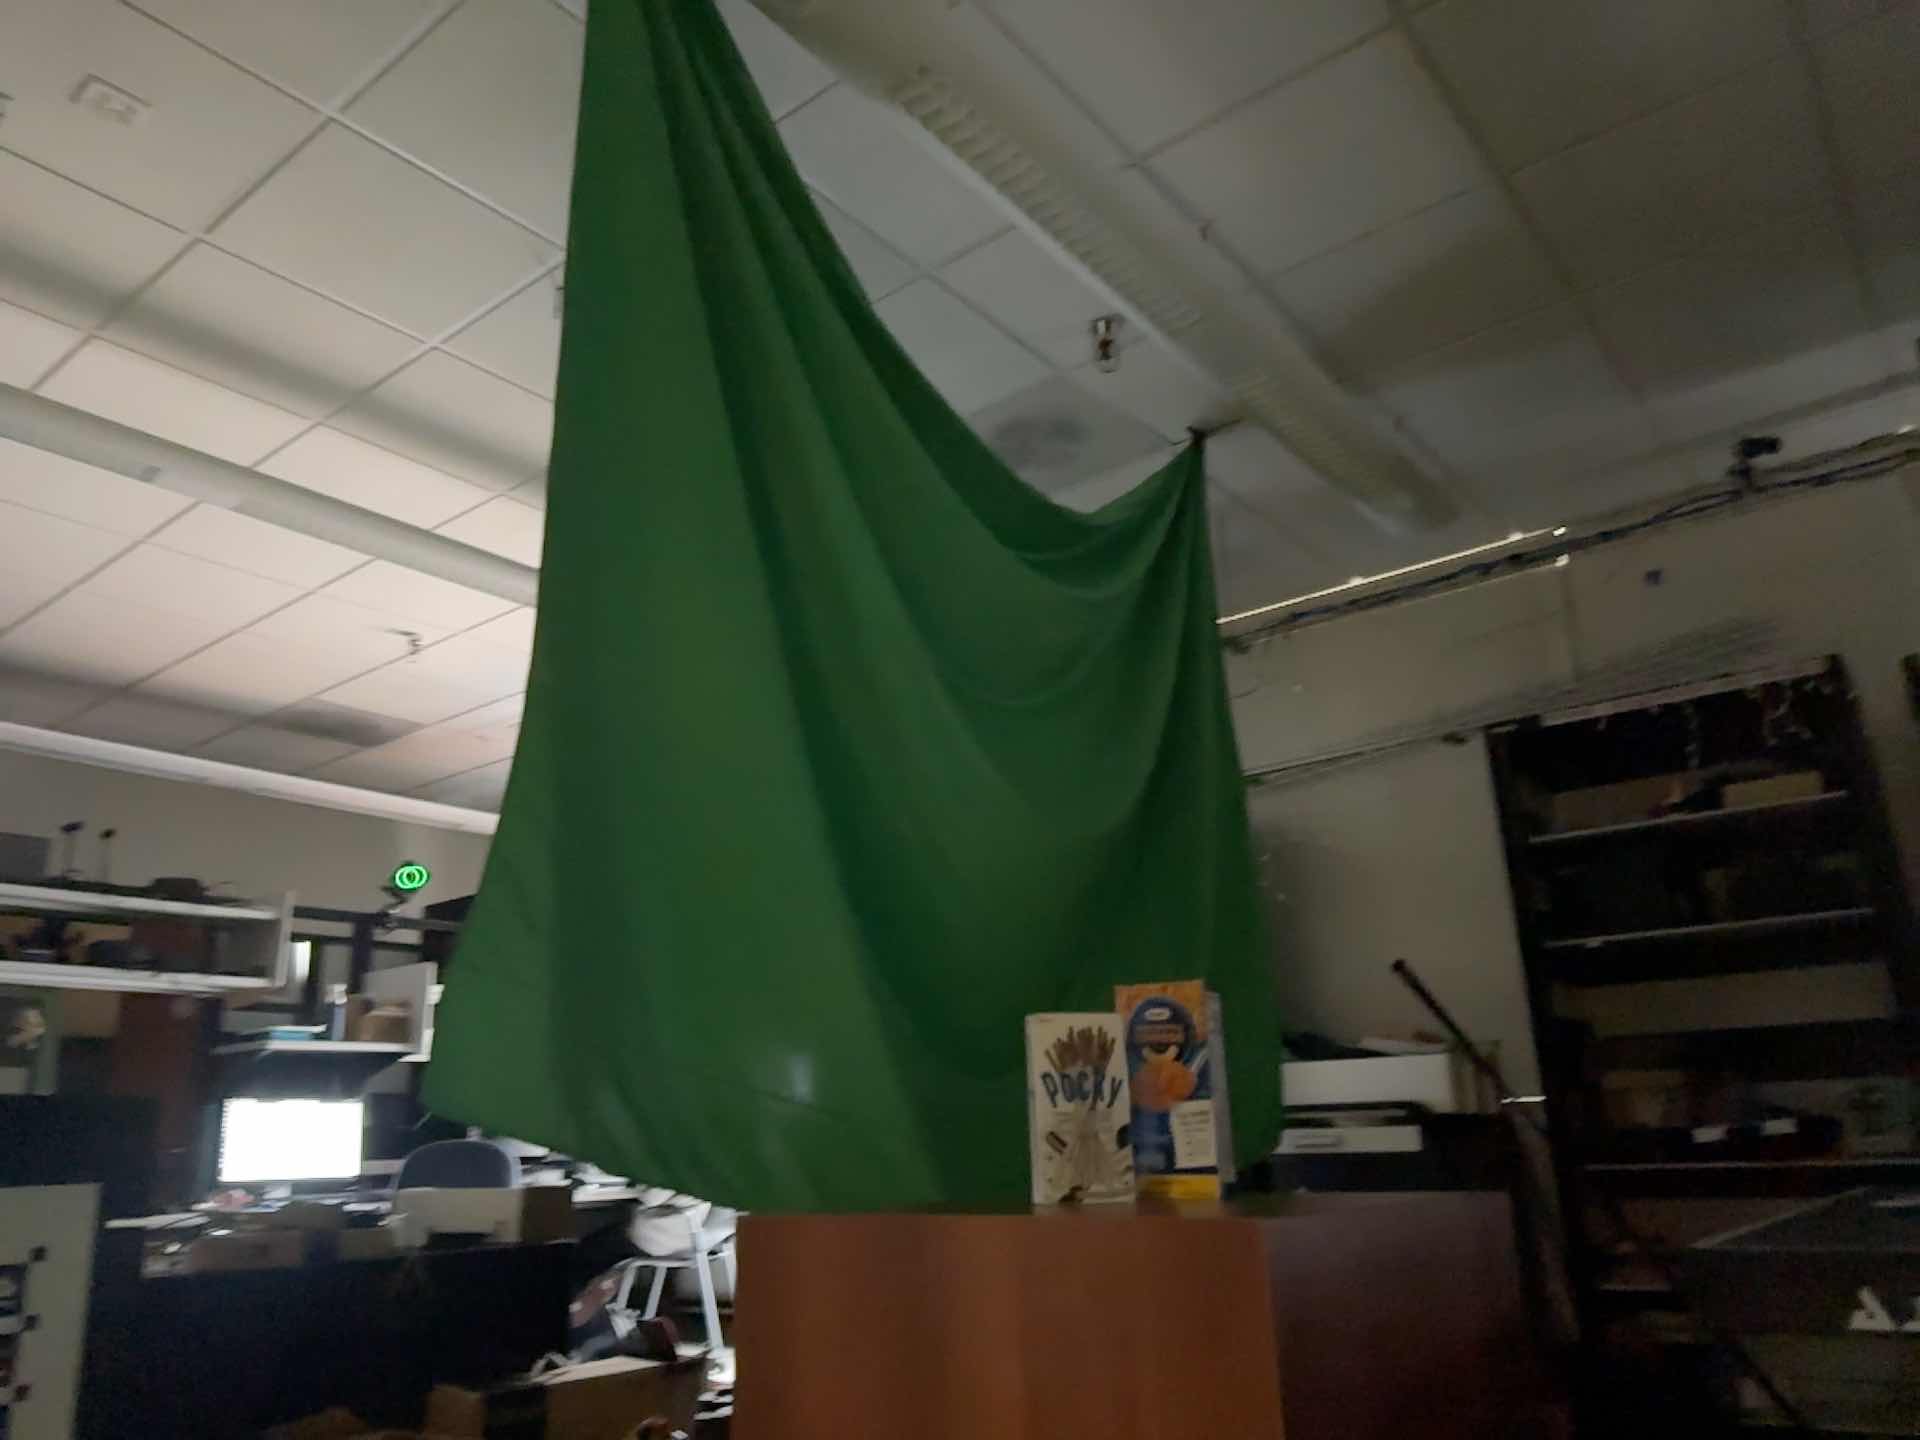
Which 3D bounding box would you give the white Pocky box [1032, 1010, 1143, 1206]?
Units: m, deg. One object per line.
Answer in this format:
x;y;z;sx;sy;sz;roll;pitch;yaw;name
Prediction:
0.105;0.320;1.113;0.084;0.154;0.028;2;-16;-11;white Pocky box

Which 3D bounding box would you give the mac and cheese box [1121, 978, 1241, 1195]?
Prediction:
0.195;0.327;1.202;0.088;0.181;0.035;-12;-20;31;mac and cheese box
